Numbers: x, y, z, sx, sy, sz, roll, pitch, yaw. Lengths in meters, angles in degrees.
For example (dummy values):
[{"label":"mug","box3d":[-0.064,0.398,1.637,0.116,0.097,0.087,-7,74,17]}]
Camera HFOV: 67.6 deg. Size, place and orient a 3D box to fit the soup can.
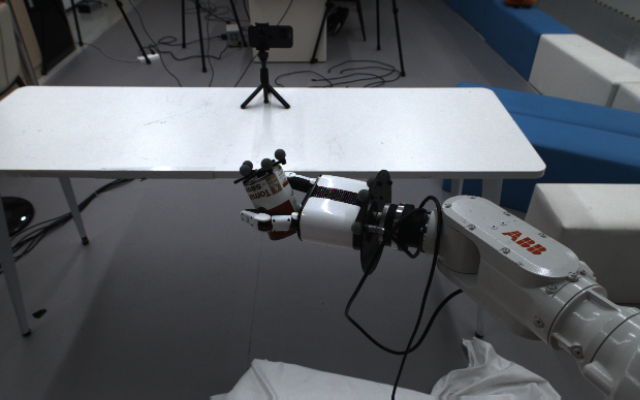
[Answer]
[{"label":"soup can","box3d":[-0.069,0.005,0.765,0.067,0.101,0.067,-24,16,7]}]
